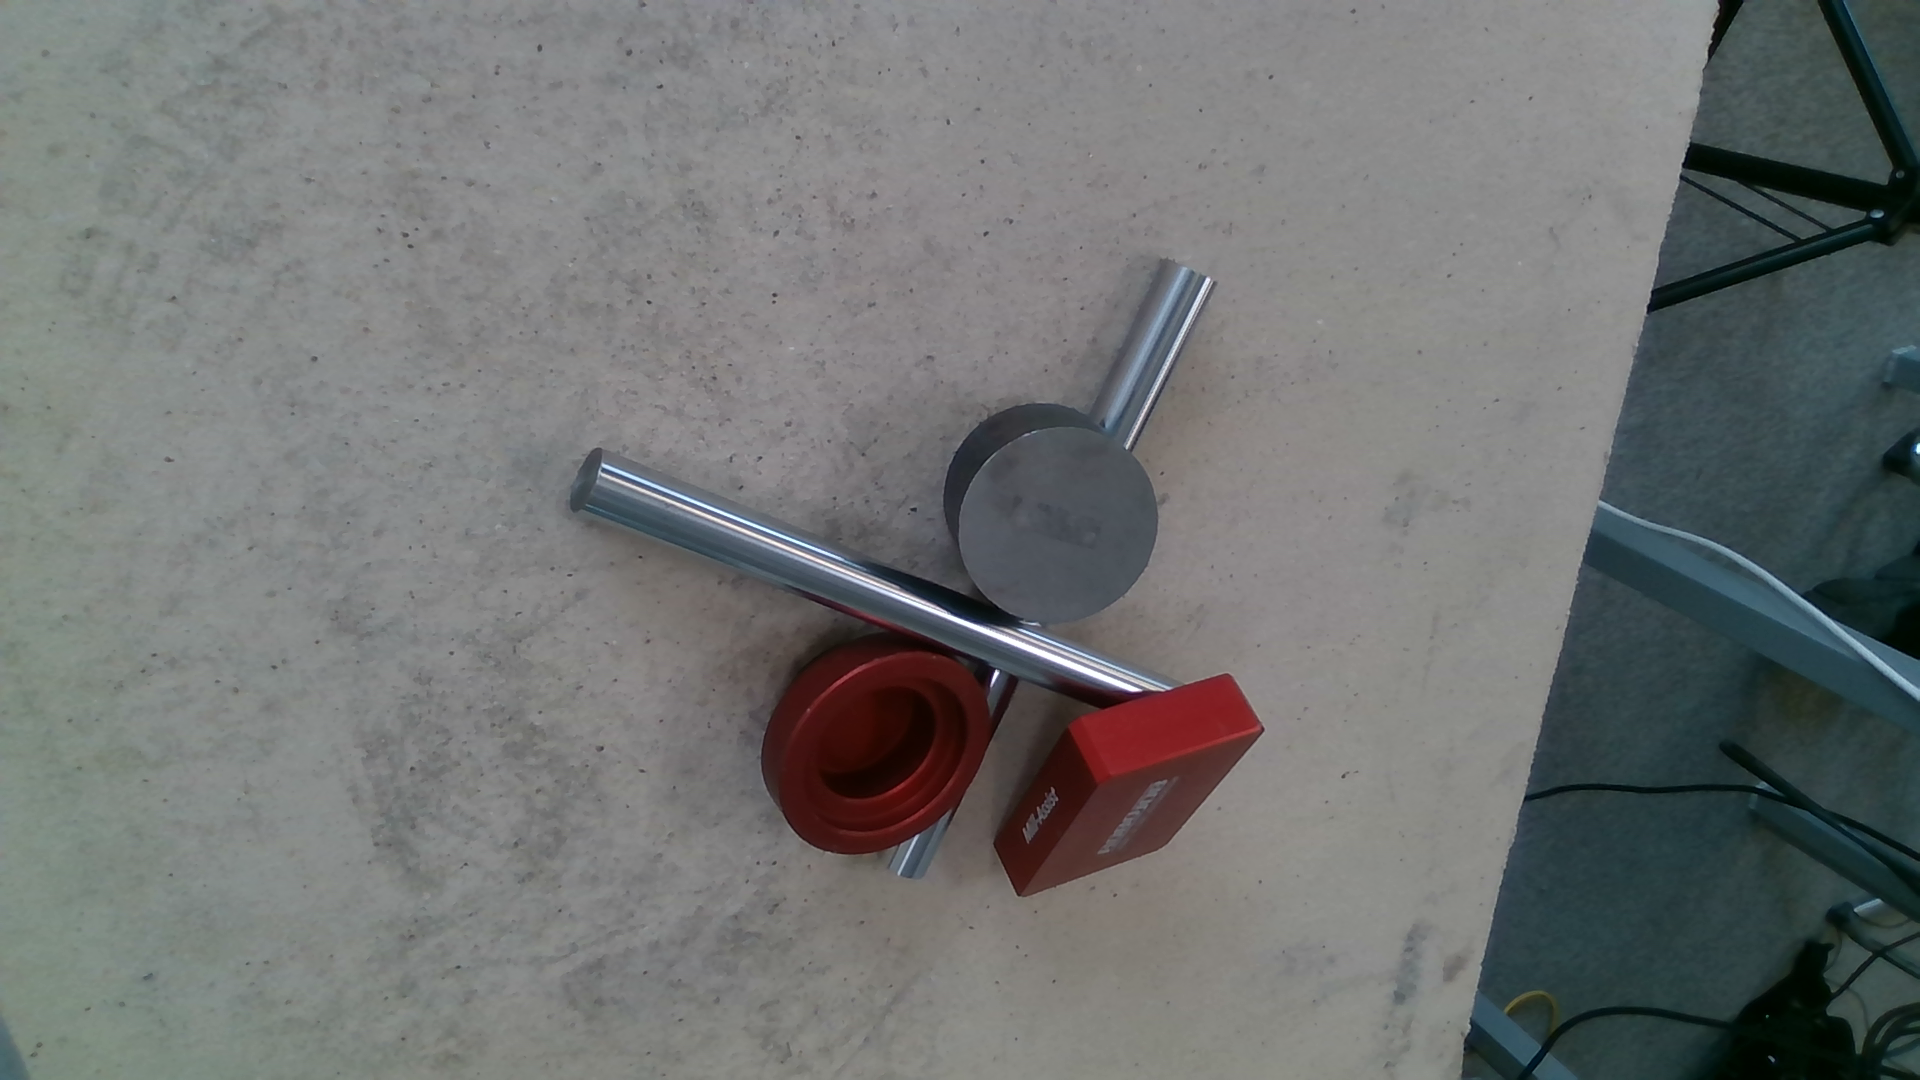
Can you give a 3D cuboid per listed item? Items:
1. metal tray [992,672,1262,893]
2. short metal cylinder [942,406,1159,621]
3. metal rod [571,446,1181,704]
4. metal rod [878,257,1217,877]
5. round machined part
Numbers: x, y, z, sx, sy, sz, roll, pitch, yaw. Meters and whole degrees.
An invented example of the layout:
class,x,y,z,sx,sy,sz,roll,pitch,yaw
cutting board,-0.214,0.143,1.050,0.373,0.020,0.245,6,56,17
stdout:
class,x,y,z,sx,sy,sz,roll,pitch,yaw
metal tray,0.076,0.117,0.652,0.090,0.030,0.130,-12,148,-26
short metal cylinder,0.036,-0.013,0.563,0.080,0.050,0.080,-2,107,-8
metal rod,-0.014,0.029,0.566,0.301,0.025,0.025,23,101,-31
metal rod,0.034,0.018,0.613,0.025,0.025,0.300,16,106,-36
round machined part,-0.040,0.081,0.590,0.098,0.042,0.098,-14,122,-25
